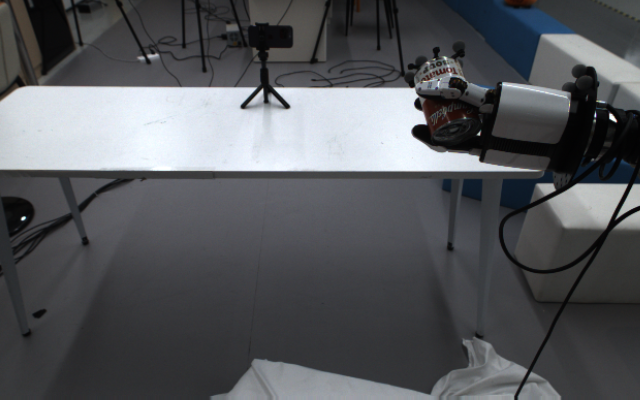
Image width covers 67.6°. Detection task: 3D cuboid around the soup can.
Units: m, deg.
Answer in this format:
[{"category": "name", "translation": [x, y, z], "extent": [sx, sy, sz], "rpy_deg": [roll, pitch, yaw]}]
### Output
[{"category": "soup can", "translation": [0.175, -0.136, 0.662], "extent": [0.067, 0.067, 0.101], "rpy_deg": [-8, 68, -14]}]
